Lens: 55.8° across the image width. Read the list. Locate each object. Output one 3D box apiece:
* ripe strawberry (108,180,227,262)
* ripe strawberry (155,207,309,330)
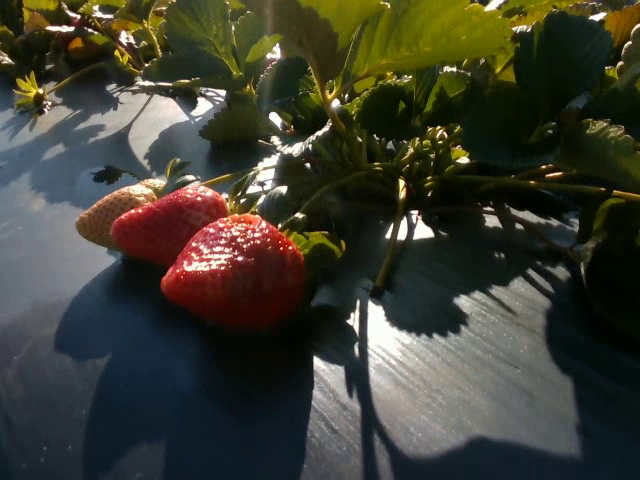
[{"bbox_3d":[-0.061,-0.006,0.257,0.061,0.051,0.044,-4,-43,-19],"label":"ripe strawberry"},{"bbox_3d":[-0.033,0.012,0.215,0.056,0.052,0.067,-22,-4,25],"label":"ripe strawberry"}]
